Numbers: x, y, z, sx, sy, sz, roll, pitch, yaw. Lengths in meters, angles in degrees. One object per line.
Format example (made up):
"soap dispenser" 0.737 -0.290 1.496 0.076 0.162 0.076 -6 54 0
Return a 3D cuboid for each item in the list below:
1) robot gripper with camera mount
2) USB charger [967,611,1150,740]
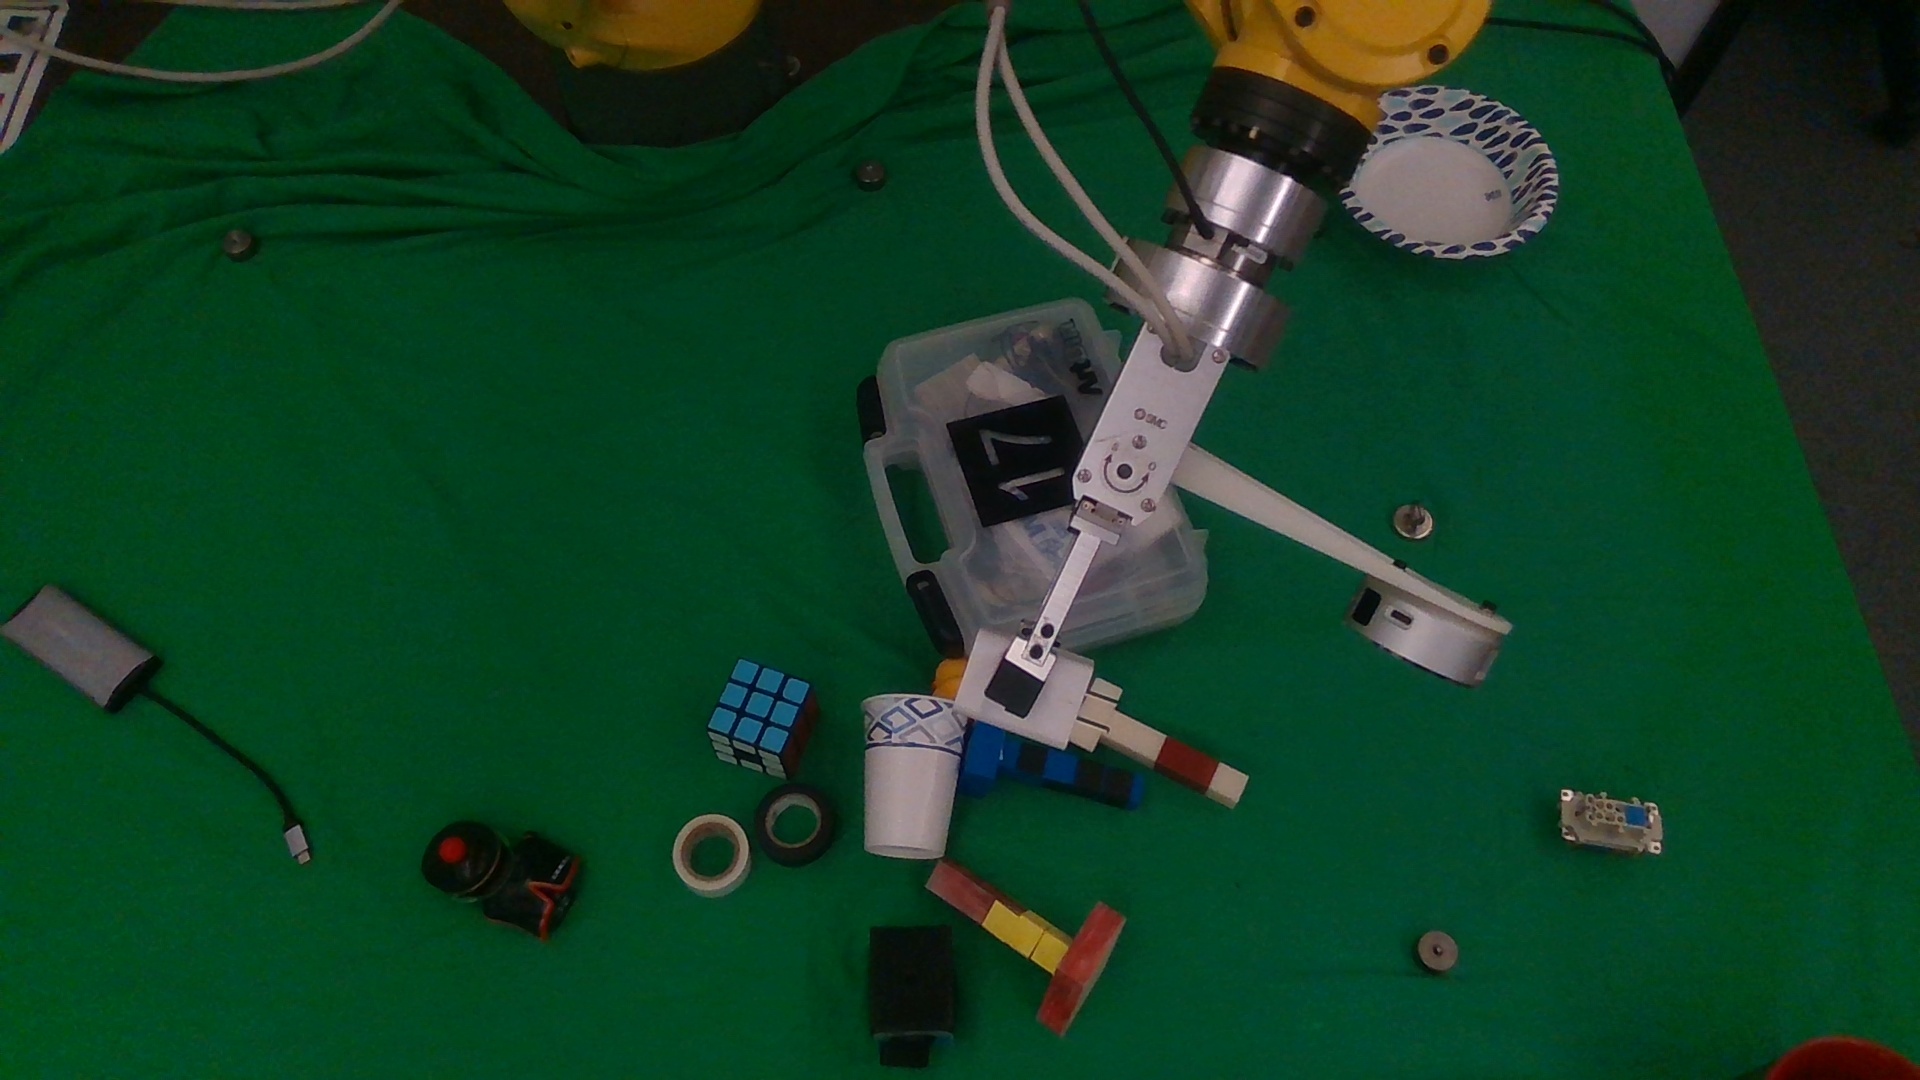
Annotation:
"robot gripper with camera mount" 0.121 0.026 0.571 0.193 0.119 0.159 26 103 6
"USB charger" 0.042 0.060 0.591 0.075 0.044 0.029 14 19 1
